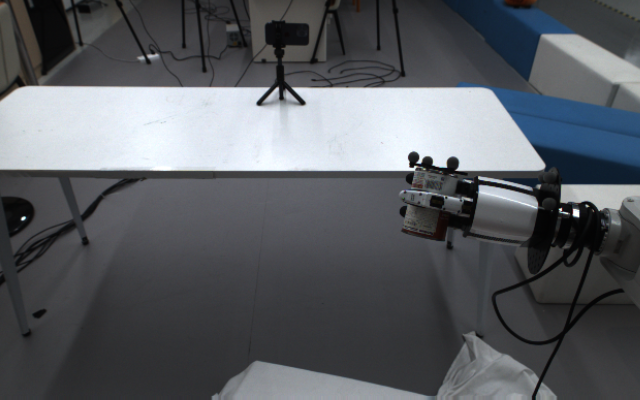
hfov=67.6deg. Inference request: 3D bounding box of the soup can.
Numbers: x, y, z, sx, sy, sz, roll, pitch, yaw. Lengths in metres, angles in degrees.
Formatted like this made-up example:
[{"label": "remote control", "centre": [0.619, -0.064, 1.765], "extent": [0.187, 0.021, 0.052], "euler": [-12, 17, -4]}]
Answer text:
[{"label": "soup can", "centre": [0.169, 0.006, 0.742], "extent": [0.067, 0.101, 0.067], "euler": [12, 2, 0]}]
